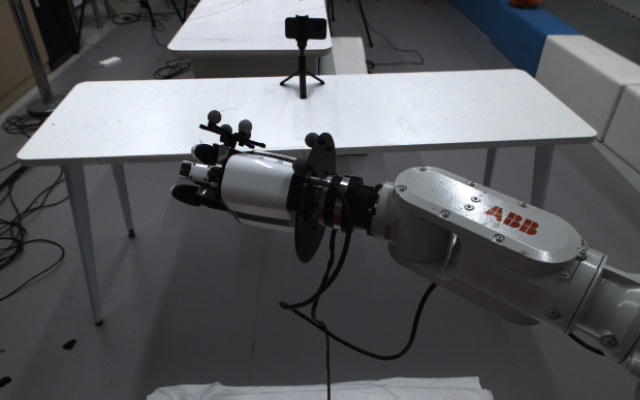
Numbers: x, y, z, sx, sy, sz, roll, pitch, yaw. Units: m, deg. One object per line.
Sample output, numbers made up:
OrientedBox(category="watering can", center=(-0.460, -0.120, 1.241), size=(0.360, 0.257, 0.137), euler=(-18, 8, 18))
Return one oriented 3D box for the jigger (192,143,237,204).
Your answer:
OrientedBox(category="jigger", center=(-0.127, -0.034, 0.615), size=(0.043, 0.071, 0.043), euler=(18, -6, 2))
